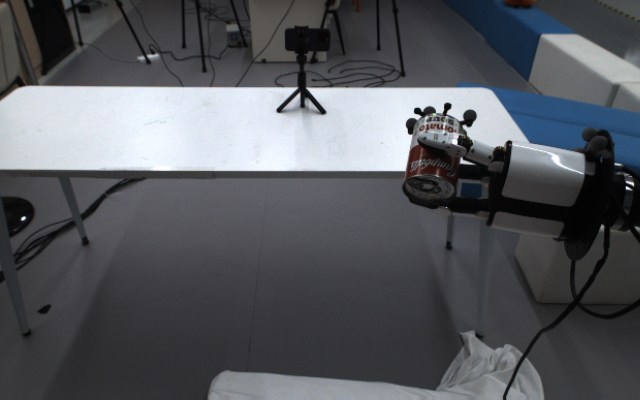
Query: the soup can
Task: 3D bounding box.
[{"bbox_3d":[0.149,-0.056,0.631,0.067,0.067,0.101,9,60,10],"label":"soup can"}]
